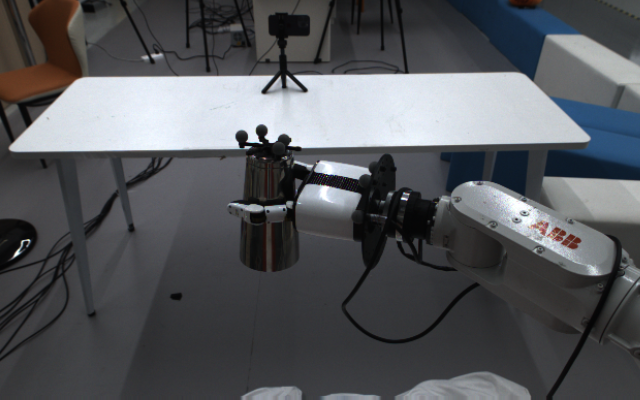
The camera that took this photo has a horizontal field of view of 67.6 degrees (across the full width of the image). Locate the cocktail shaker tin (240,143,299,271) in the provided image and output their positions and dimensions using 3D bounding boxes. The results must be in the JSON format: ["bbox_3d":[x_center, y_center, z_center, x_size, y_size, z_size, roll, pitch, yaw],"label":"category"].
[{"bbox_3d":[-0.074,0.008,0.712,0.093,0.170,0.093,2,26,-1],"label":"cocktail shaker tin"}]
